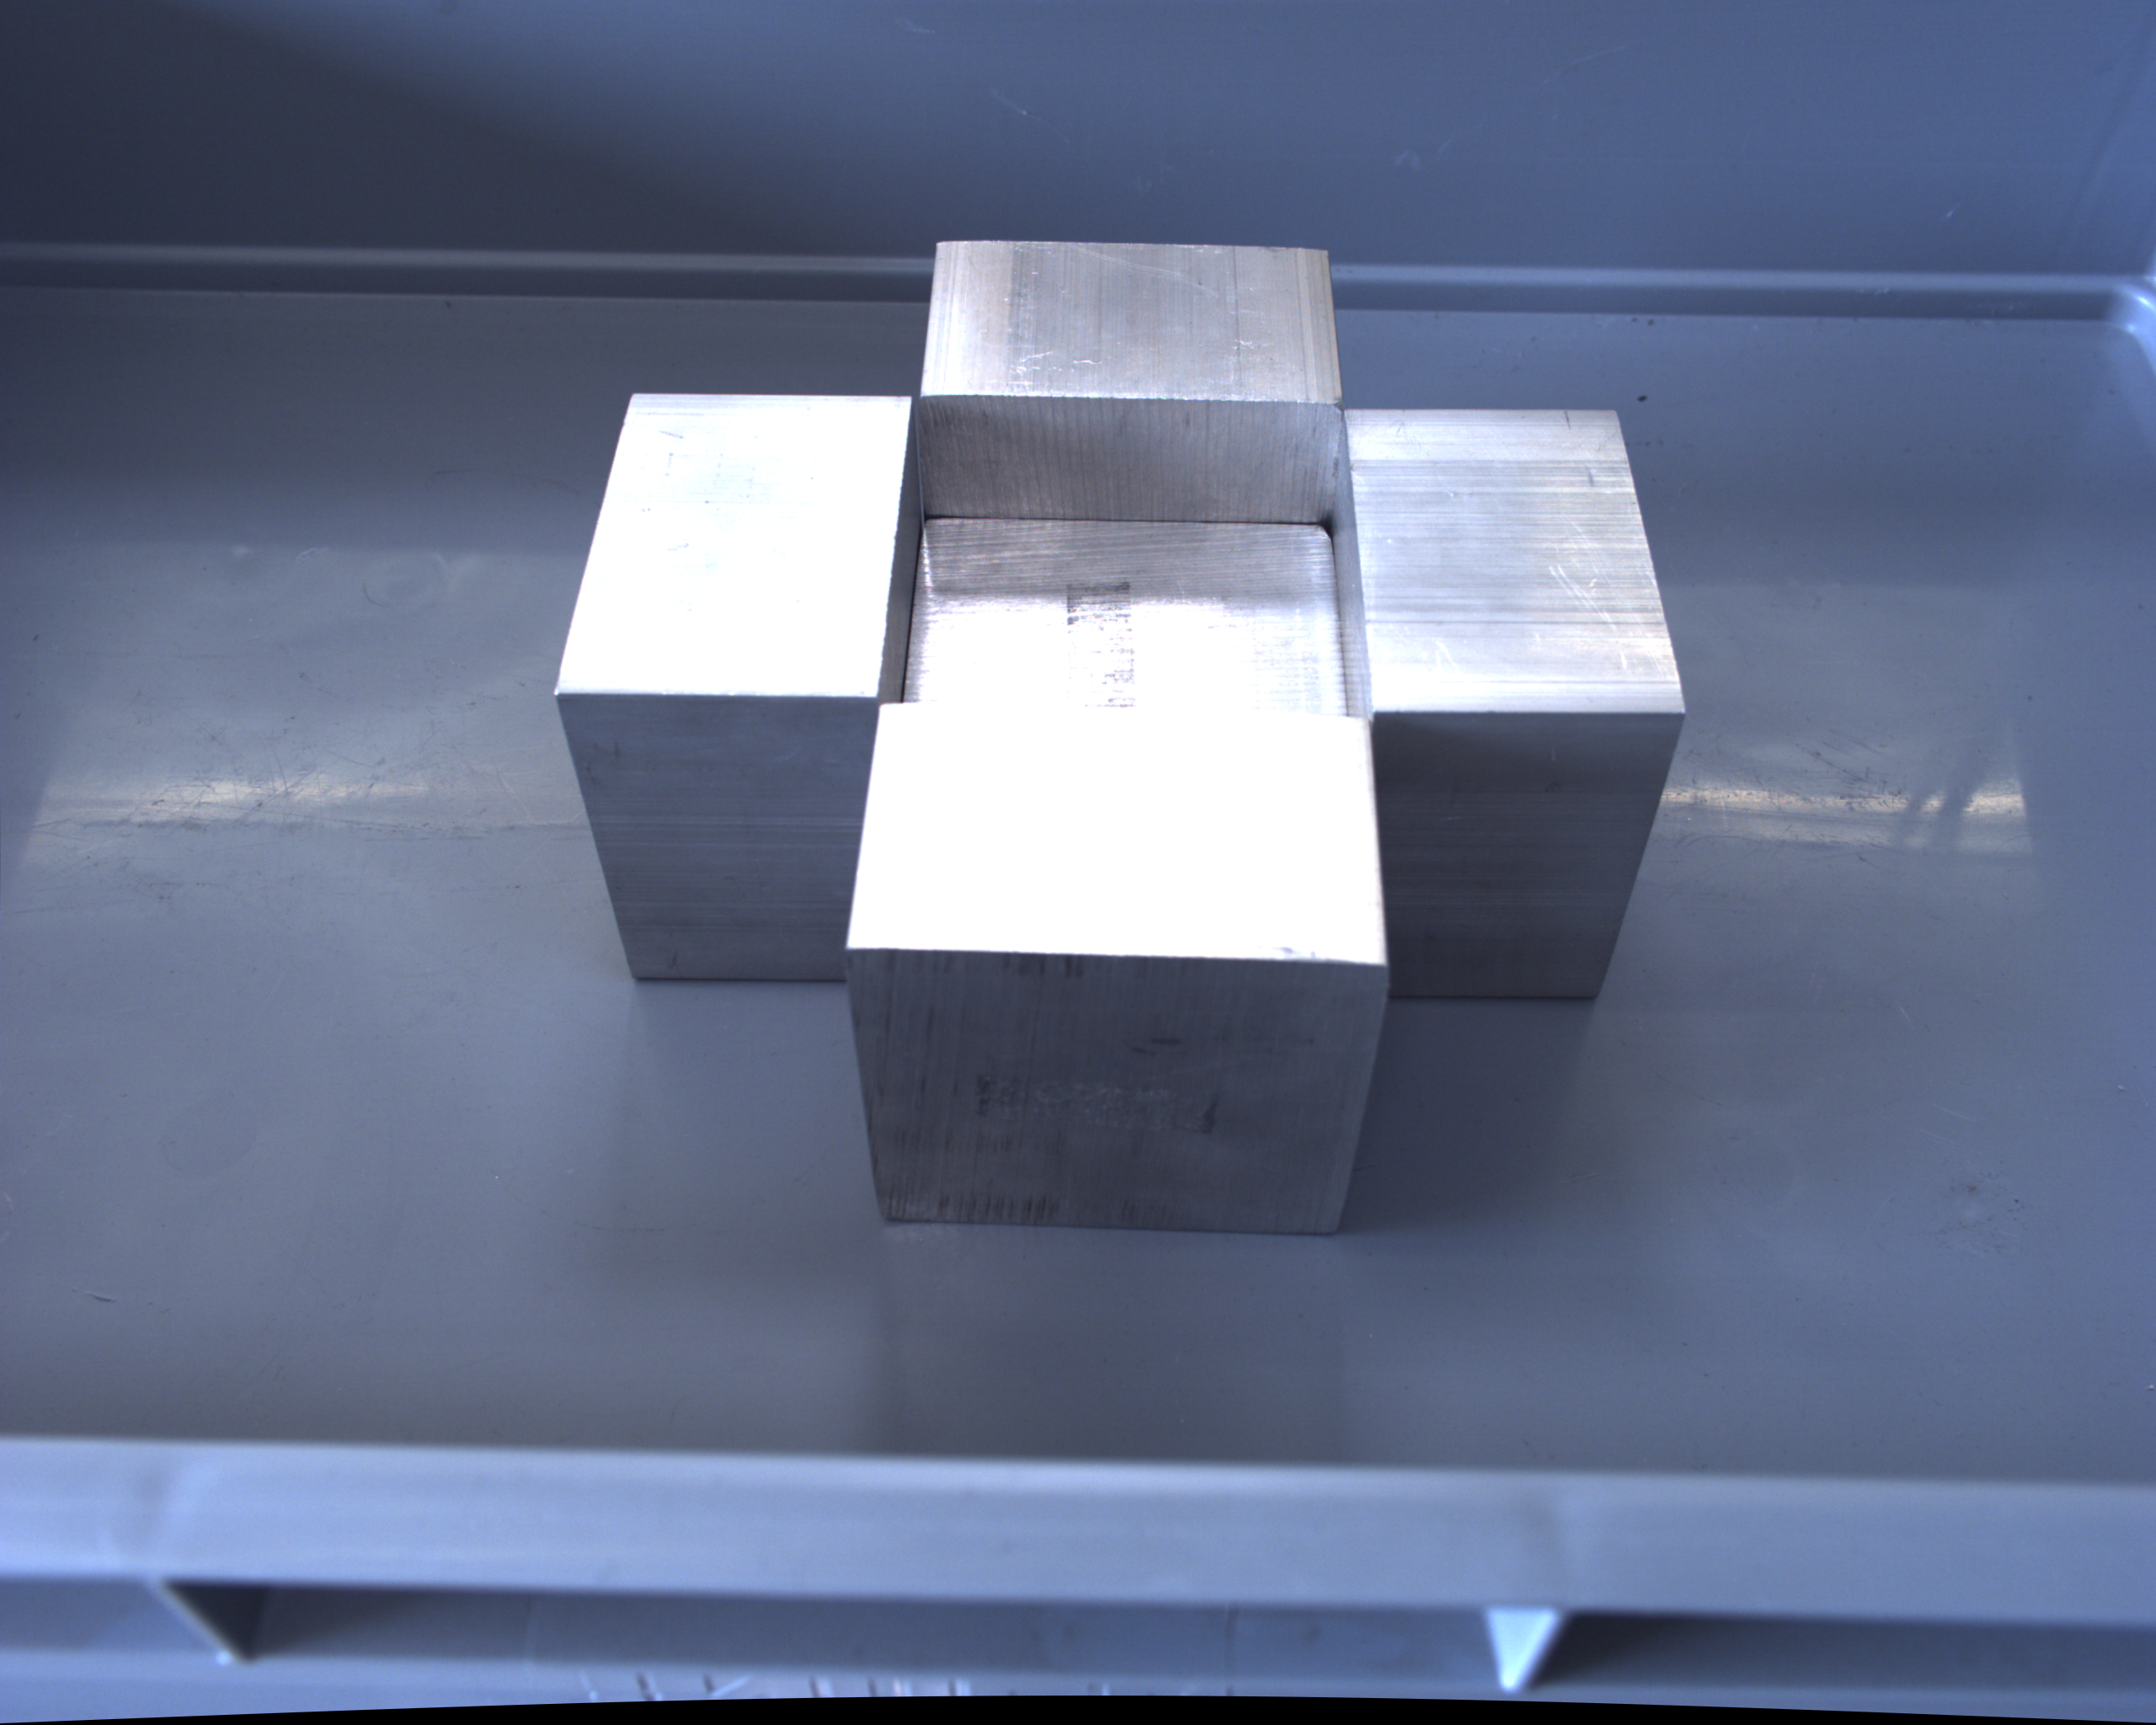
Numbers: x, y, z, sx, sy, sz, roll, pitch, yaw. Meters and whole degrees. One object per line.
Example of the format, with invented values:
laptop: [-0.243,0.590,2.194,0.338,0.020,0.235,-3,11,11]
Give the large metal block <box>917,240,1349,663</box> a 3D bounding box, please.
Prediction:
large metal block: [0.011,-0.081,0.435,0.080,0.080,0.050,1,50,0]

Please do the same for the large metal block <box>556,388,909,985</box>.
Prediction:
large metal block: [-0.059,-0.032,0.395,0.050,0.080,0.080,1,50,1]

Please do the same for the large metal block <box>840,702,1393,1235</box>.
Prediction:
large metal block: [0.006,0.020,0.351,0.080,0.080,0.050,1,50,1]

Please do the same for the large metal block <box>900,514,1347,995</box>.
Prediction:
large metal block: [0.009,-0.022,0.404,0.080,0.050,0.080,1,50,0]

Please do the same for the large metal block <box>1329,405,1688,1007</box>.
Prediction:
large metal block: [0.074,-0.029,0.393,0.050,0.080,0.080,1,50,1]
